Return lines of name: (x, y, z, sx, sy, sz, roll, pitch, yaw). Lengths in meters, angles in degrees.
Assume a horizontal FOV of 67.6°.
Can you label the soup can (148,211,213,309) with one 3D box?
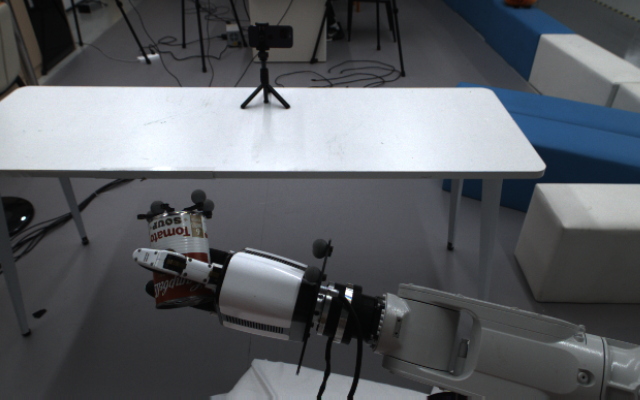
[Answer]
soup can: (-0.160, 0.071, 0.567, 0.067, 0.067, 0.101, -9, 74, -15)
